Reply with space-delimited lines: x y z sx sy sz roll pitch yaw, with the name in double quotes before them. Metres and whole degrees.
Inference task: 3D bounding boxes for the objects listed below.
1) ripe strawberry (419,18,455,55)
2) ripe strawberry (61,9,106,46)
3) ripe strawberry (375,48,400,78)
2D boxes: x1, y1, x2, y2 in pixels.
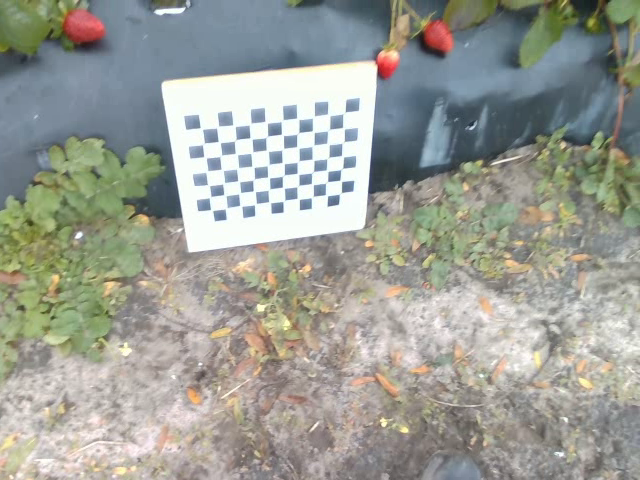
"ripe strawberry" 0.170 -0.276 1.151 0.044 0.059 0.041 -36 20 29
"ripe strawberry" -0.310 -0.269 1.063 0.064 0.046 0.048 21 47 8
"ripe strawberry" 0.099 -0.238 1.145 0.036 0.041 0.028 -2 24 -4
